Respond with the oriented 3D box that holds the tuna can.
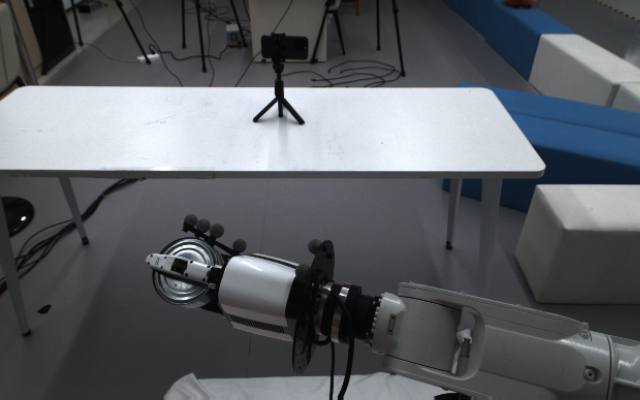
[{"bbox_3d":[-0.161,0.092,0.608,0.085,0.034,0.085,-4,67,10],"label":"tuna can"}]
